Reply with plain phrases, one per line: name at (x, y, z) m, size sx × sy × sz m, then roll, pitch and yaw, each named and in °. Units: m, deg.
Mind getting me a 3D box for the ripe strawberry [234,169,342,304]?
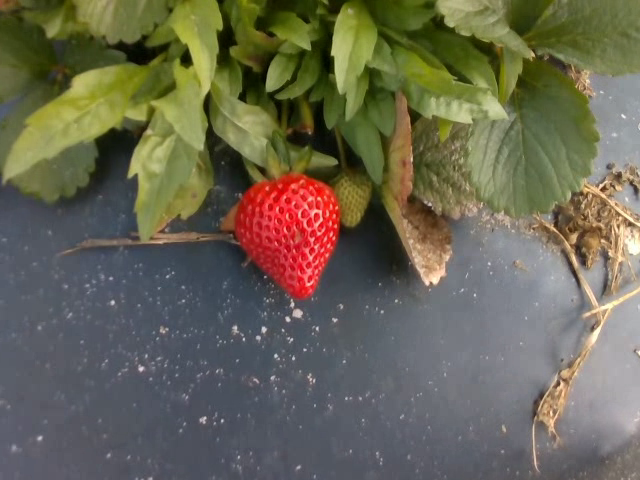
ripe strawberry at (-0.012, -0.001, 0.230) m, size 0.043 × 0.051 × 0.043 m, roll -11°, pitch -11°, yaw -14°
